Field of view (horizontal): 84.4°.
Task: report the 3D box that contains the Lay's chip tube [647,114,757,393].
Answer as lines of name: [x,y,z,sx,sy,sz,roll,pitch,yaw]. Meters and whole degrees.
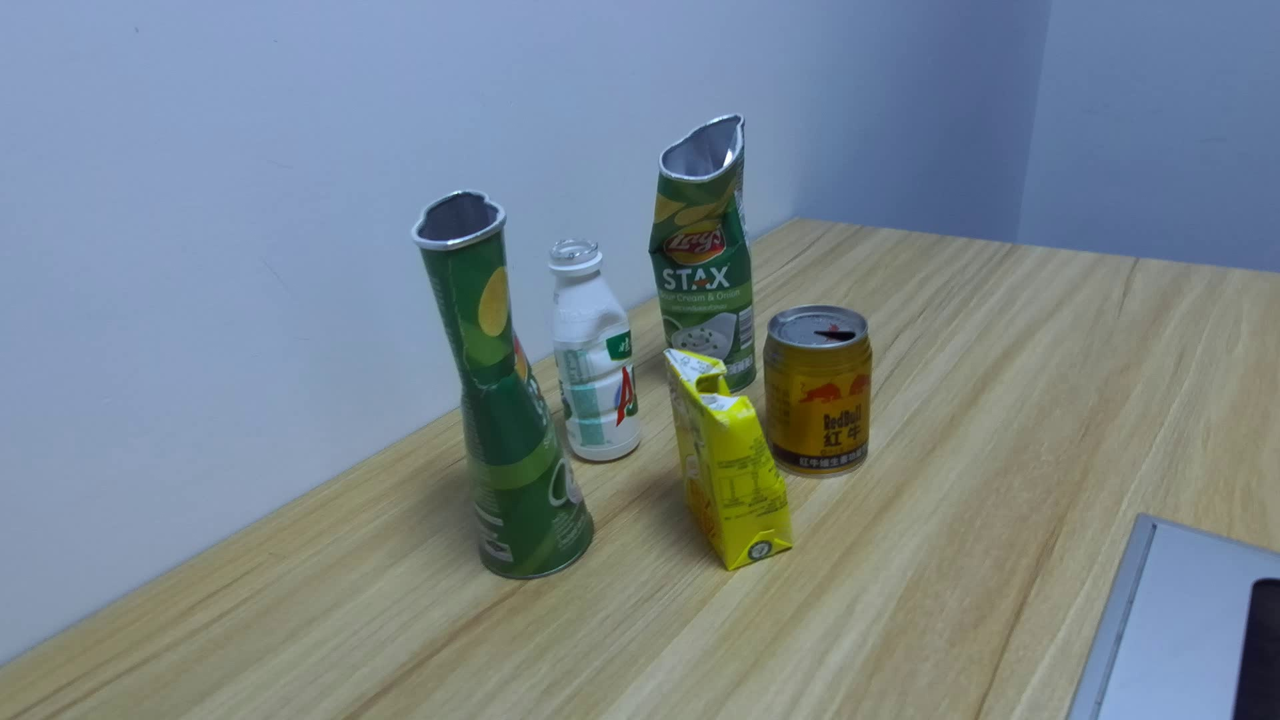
Lay's chip tube: [0.051,-0.066,0.516,0.079,0.200,0.071,-13,34,-10]

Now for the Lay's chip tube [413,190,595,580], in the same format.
Lay's chip tube: [-0.074,0.019,0.379,0.074,0.200,0.069,15,35,38]

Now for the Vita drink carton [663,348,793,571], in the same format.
Vita drink carton: [0.050,0.050,0.387,0.046,0.110,0.071,-16,29,-11]

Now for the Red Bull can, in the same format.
Red Bull can: [0.112,0.019,0.449,0.067,0.093,0.067,-5,26,3]

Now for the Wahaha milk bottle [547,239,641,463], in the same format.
Wahaha milk bottle: [-0.030,-0.004,0.467,0.055,0.149,0.055,-4,29,3]
